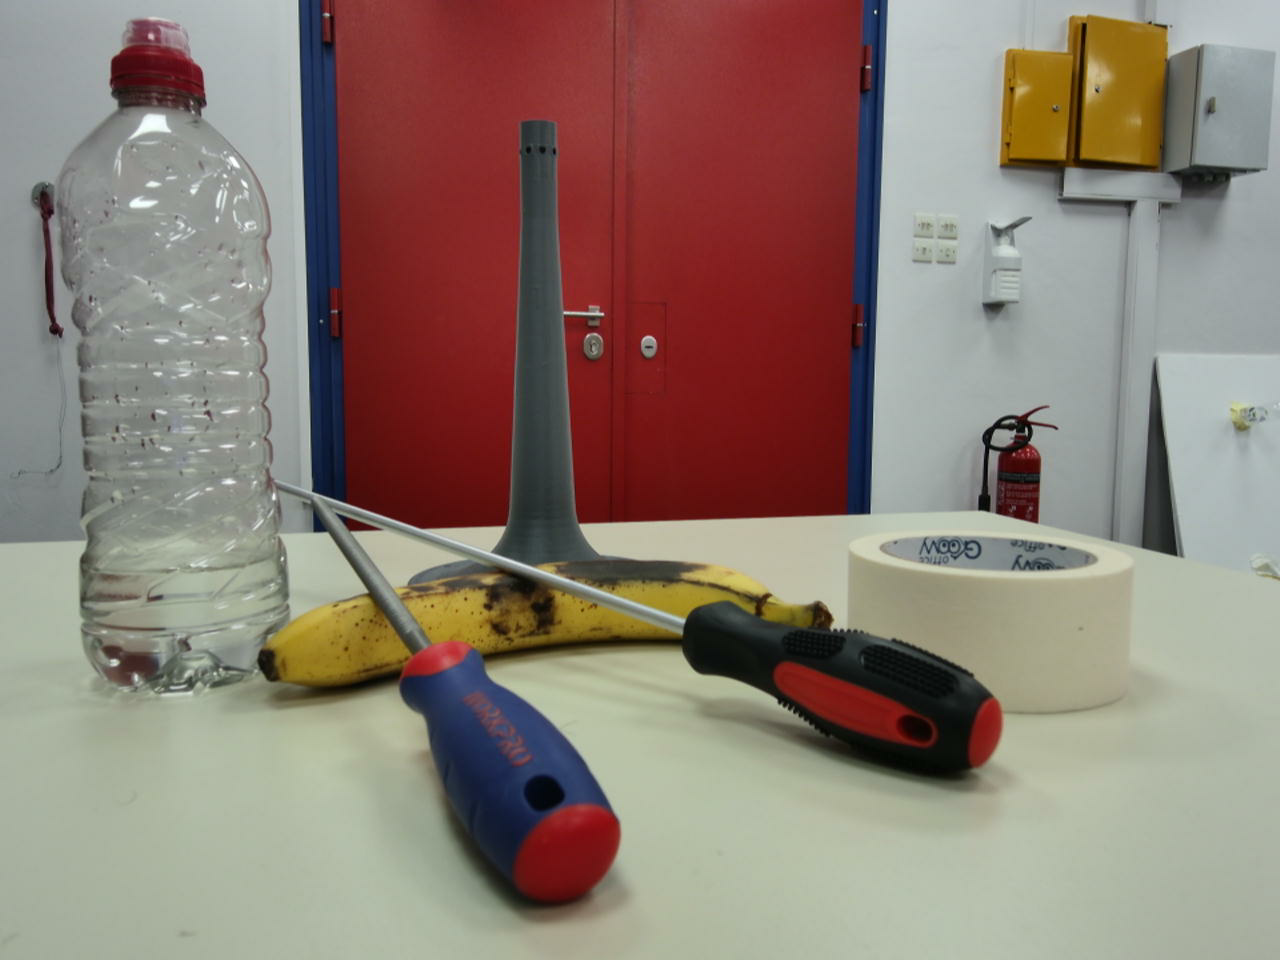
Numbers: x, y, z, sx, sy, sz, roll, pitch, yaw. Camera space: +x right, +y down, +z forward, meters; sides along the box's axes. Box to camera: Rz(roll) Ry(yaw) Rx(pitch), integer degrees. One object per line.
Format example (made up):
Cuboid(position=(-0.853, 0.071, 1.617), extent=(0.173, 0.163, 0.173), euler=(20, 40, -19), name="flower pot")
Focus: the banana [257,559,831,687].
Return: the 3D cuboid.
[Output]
Cuboid(position=(-0.038, 0.057, 0.418), extent=(0.222, 0.037, 0.084), euler=(-1, 4, -13), name="banana")
